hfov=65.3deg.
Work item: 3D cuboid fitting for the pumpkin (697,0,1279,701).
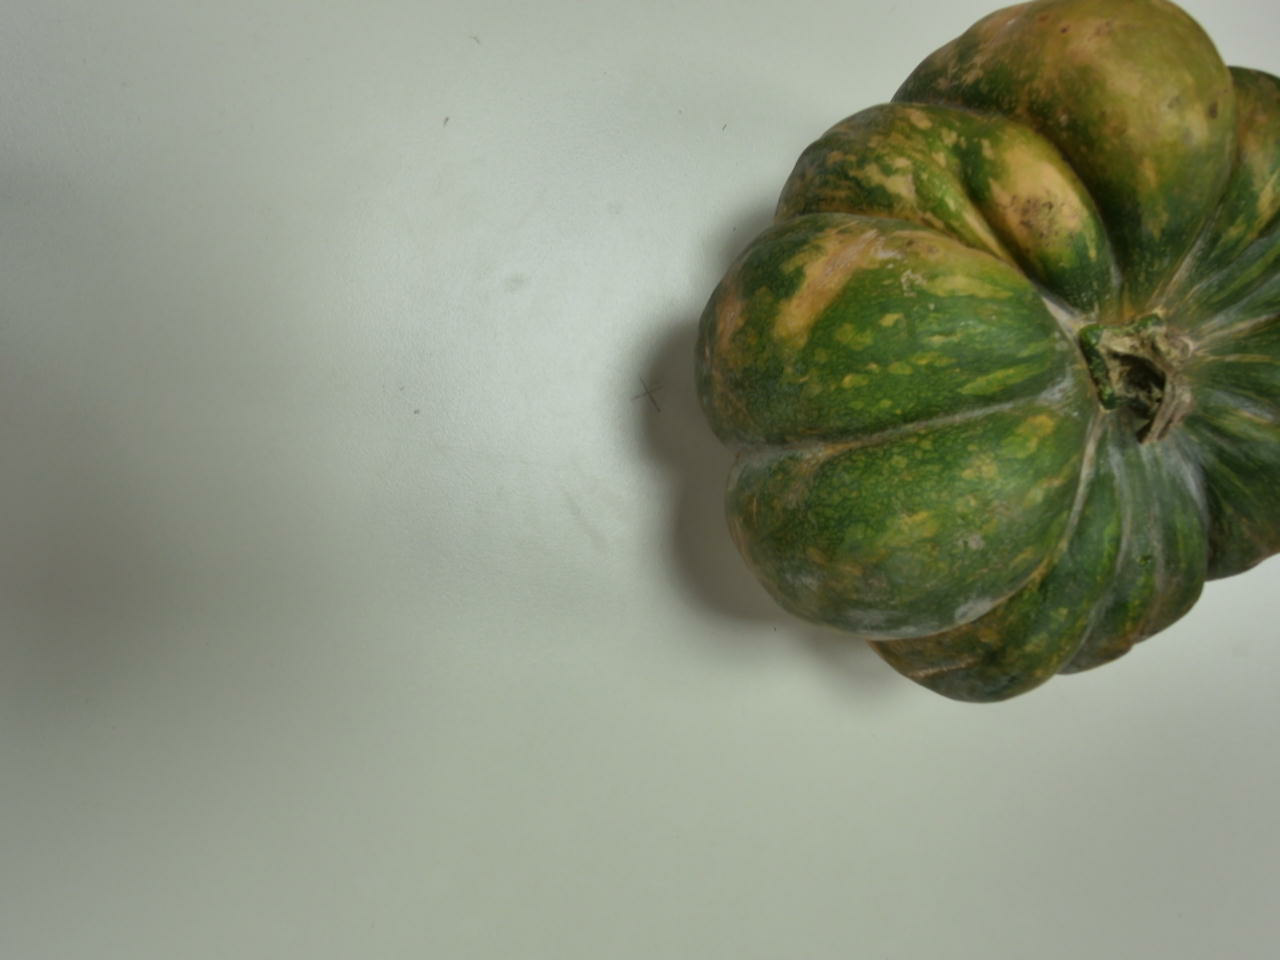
[{"bbox_3d":[0.152,-0.043,0.381,0.270,0.173,0.237,-43,99,-8],"label":"pumpkin"}]
